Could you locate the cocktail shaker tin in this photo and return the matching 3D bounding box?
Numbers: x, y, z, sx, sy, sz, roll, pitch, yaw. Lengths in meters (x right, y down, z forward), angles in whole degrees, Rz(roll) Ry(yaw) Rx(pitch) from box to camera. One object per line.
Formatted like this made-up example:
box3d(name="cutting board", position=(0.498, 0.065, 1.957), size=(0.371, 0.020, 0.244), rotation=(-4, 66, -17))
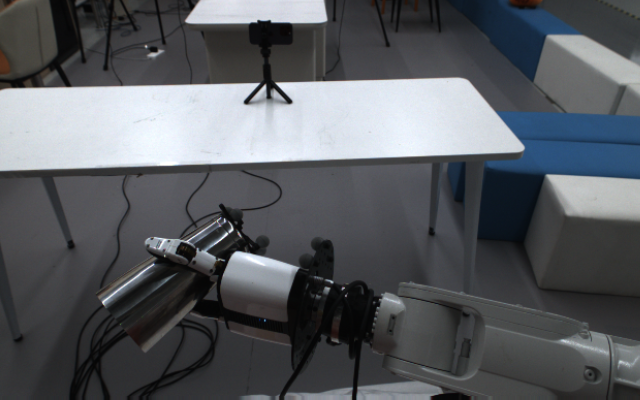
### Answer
box3d(name="cocktail shaker tin", position=(-0.174, 0.092, 0.601), size=(0.170, 0.093, 0.093), rotation=(-38, 49, -24))
